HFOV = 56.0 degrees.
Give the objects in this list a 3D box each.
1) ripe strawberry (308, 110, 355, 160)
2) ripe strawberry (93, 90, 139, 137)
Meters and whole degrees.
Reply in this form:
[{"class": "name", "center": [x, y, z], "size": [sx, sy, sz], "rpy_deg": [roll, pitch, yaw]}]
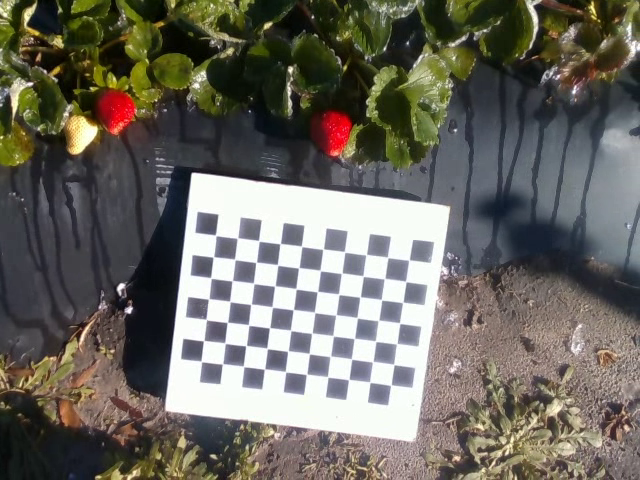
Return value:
[{"class": "ripe strawberry", "center": [0.013, -0.112, 0.634], "size": [0.049, 0.061, 0.044], "rpy_deg": [0, -27, -1]}, {"class": "ripe strawberry", "center": [-0.215, -0.128, 0.635], "size": [0.043, 0.061, 0.046], "rpy_deg": [-7, -37, 0]}]
